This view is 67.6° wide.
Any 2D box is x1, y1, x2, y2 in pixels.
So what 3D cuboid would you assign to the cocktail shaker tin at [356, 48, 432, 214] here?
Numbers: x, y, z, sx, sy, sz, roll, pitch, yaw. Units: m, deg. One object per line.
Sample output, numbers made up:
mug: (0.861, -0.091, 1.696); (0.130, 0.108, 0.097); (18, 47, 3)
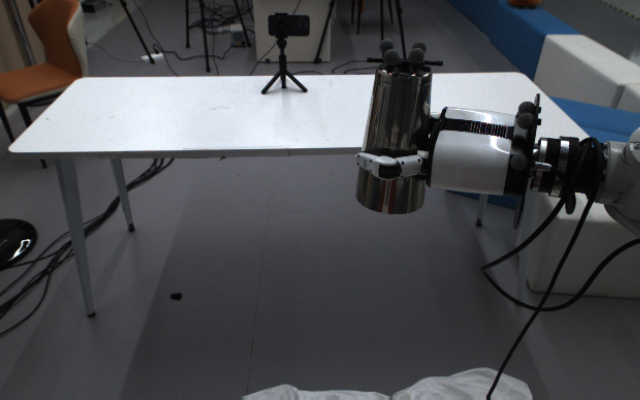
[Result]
cocktail shaker tin: (0.098, -0.080, 0.608); (0.093, 0.170, 0.093); (2, 28, -1)
